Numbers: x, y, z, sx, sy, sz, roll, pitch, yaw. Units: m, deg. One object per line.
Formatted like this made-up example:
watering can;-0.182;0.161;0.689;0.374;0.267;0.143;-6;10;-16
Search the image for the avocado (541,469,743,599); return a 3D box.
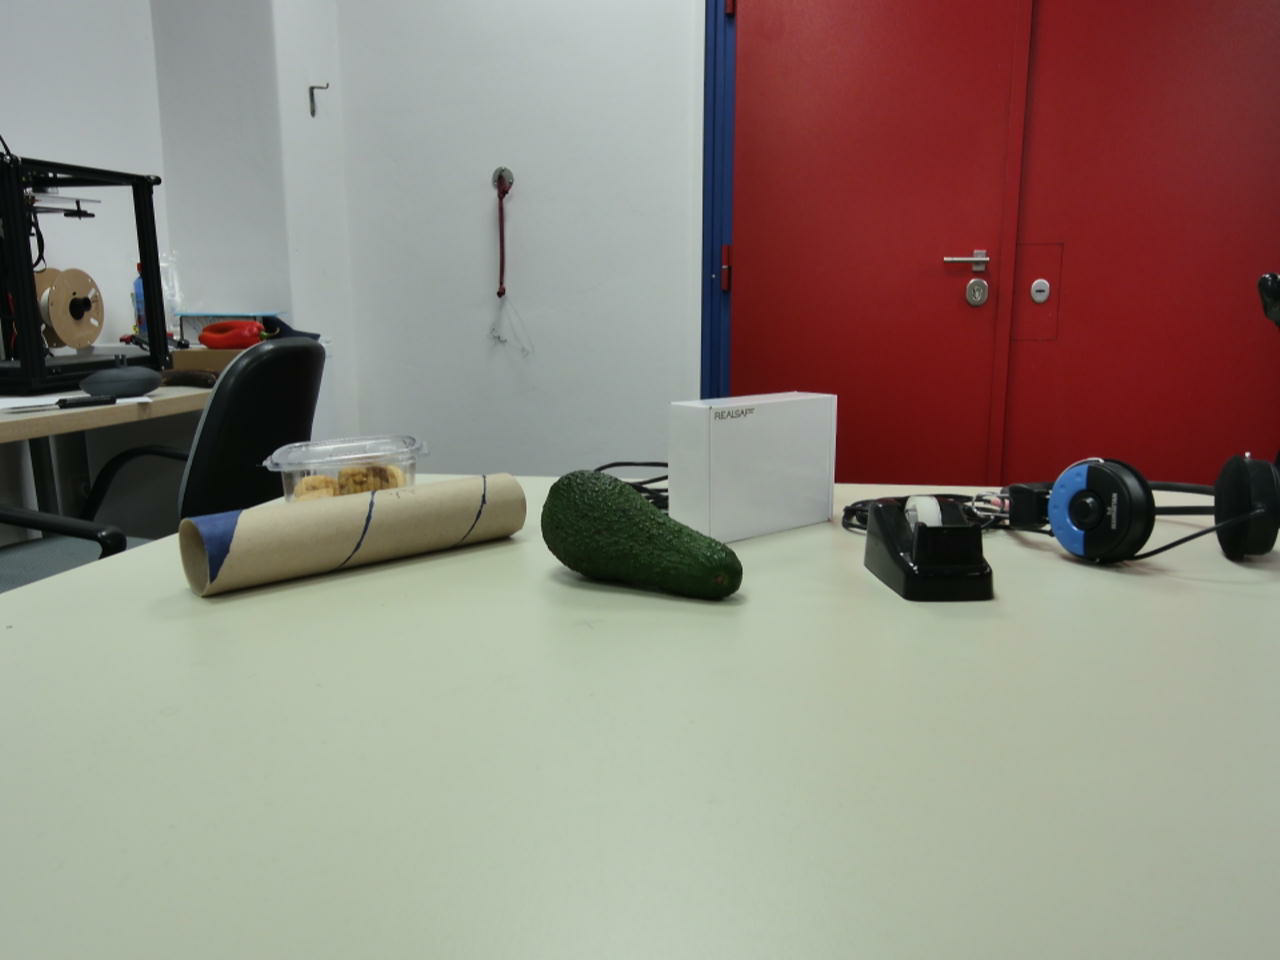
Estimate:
avocado;0.002;0.030;0.594;0.141;0.067;0.063;4;8;26
